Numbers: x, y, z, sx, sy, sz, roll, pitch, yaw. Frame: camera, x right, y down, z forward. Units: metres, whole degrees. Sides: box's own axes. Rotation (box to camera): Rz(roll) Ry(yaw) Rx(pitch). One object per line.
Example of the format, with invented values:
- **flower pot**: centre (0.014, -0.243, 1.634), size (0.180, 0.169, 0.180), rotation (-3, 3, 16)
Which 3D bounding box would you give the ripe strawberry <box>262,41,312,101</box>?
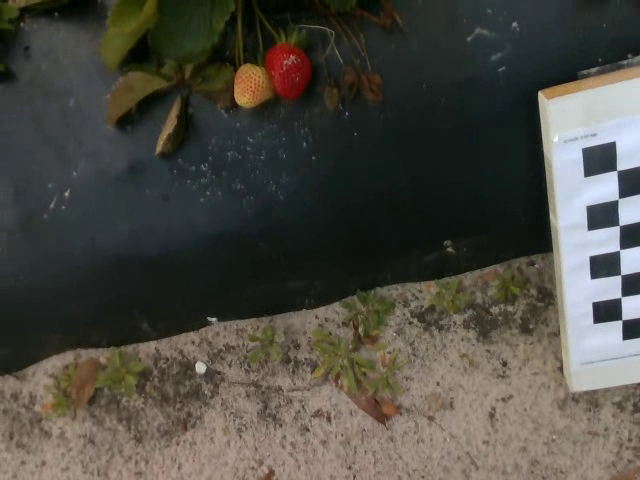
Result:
- **ripe strawberry**: centre (-0.022, -0.112, 0.409), size (0.034, 0.042, 0.033), rotation (16, -30, -4)
